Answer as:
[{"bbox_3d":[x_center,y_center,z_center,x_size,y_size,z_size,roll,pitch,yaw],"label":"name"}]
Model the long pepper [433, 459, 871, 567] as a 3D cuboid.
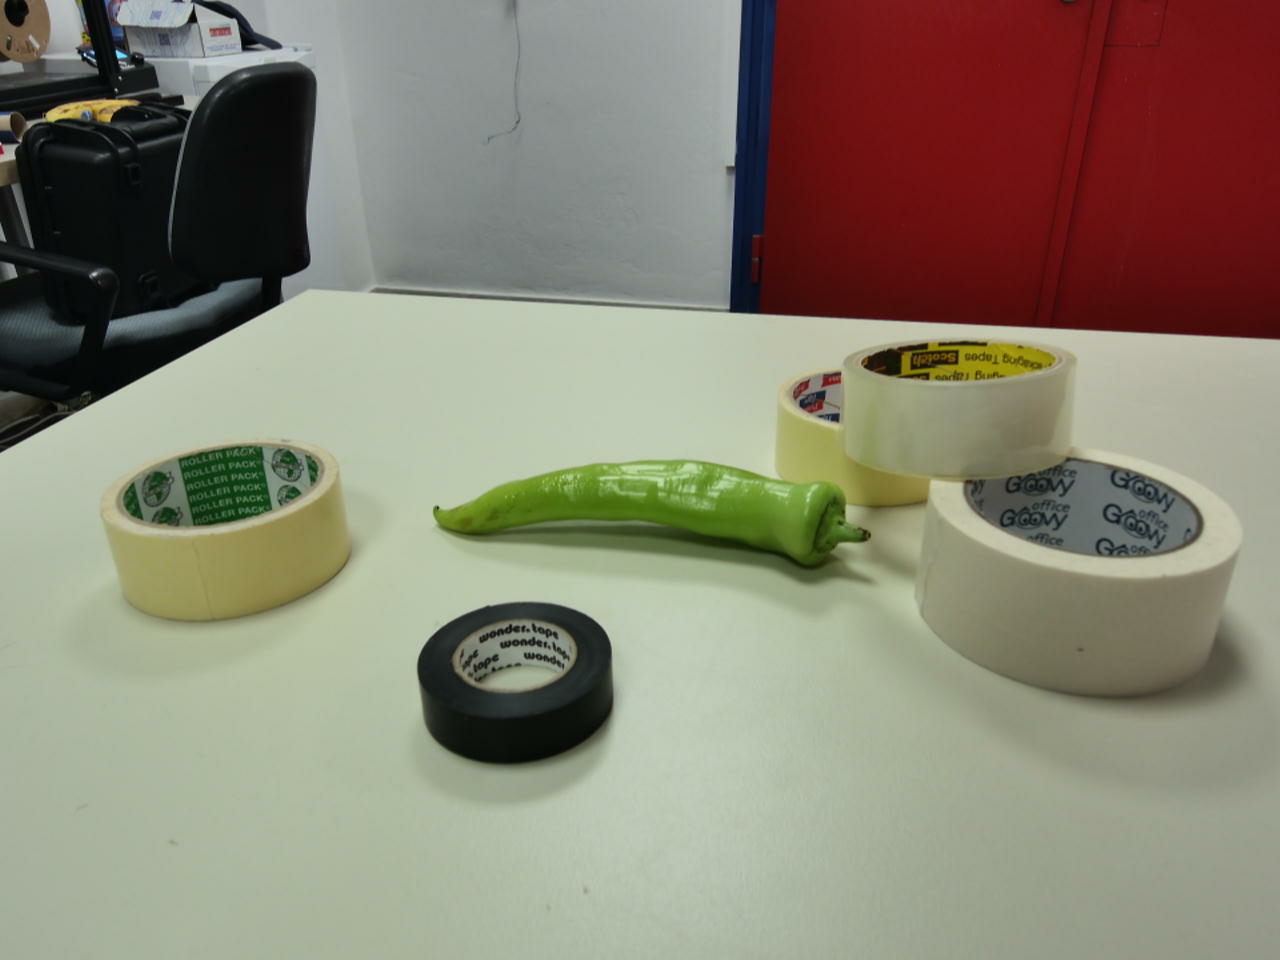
[{"bbox_3d":[0.003,0.009,0.442,0.197,0.038,0.046,6,25,14],"label":"long pepper"}]
